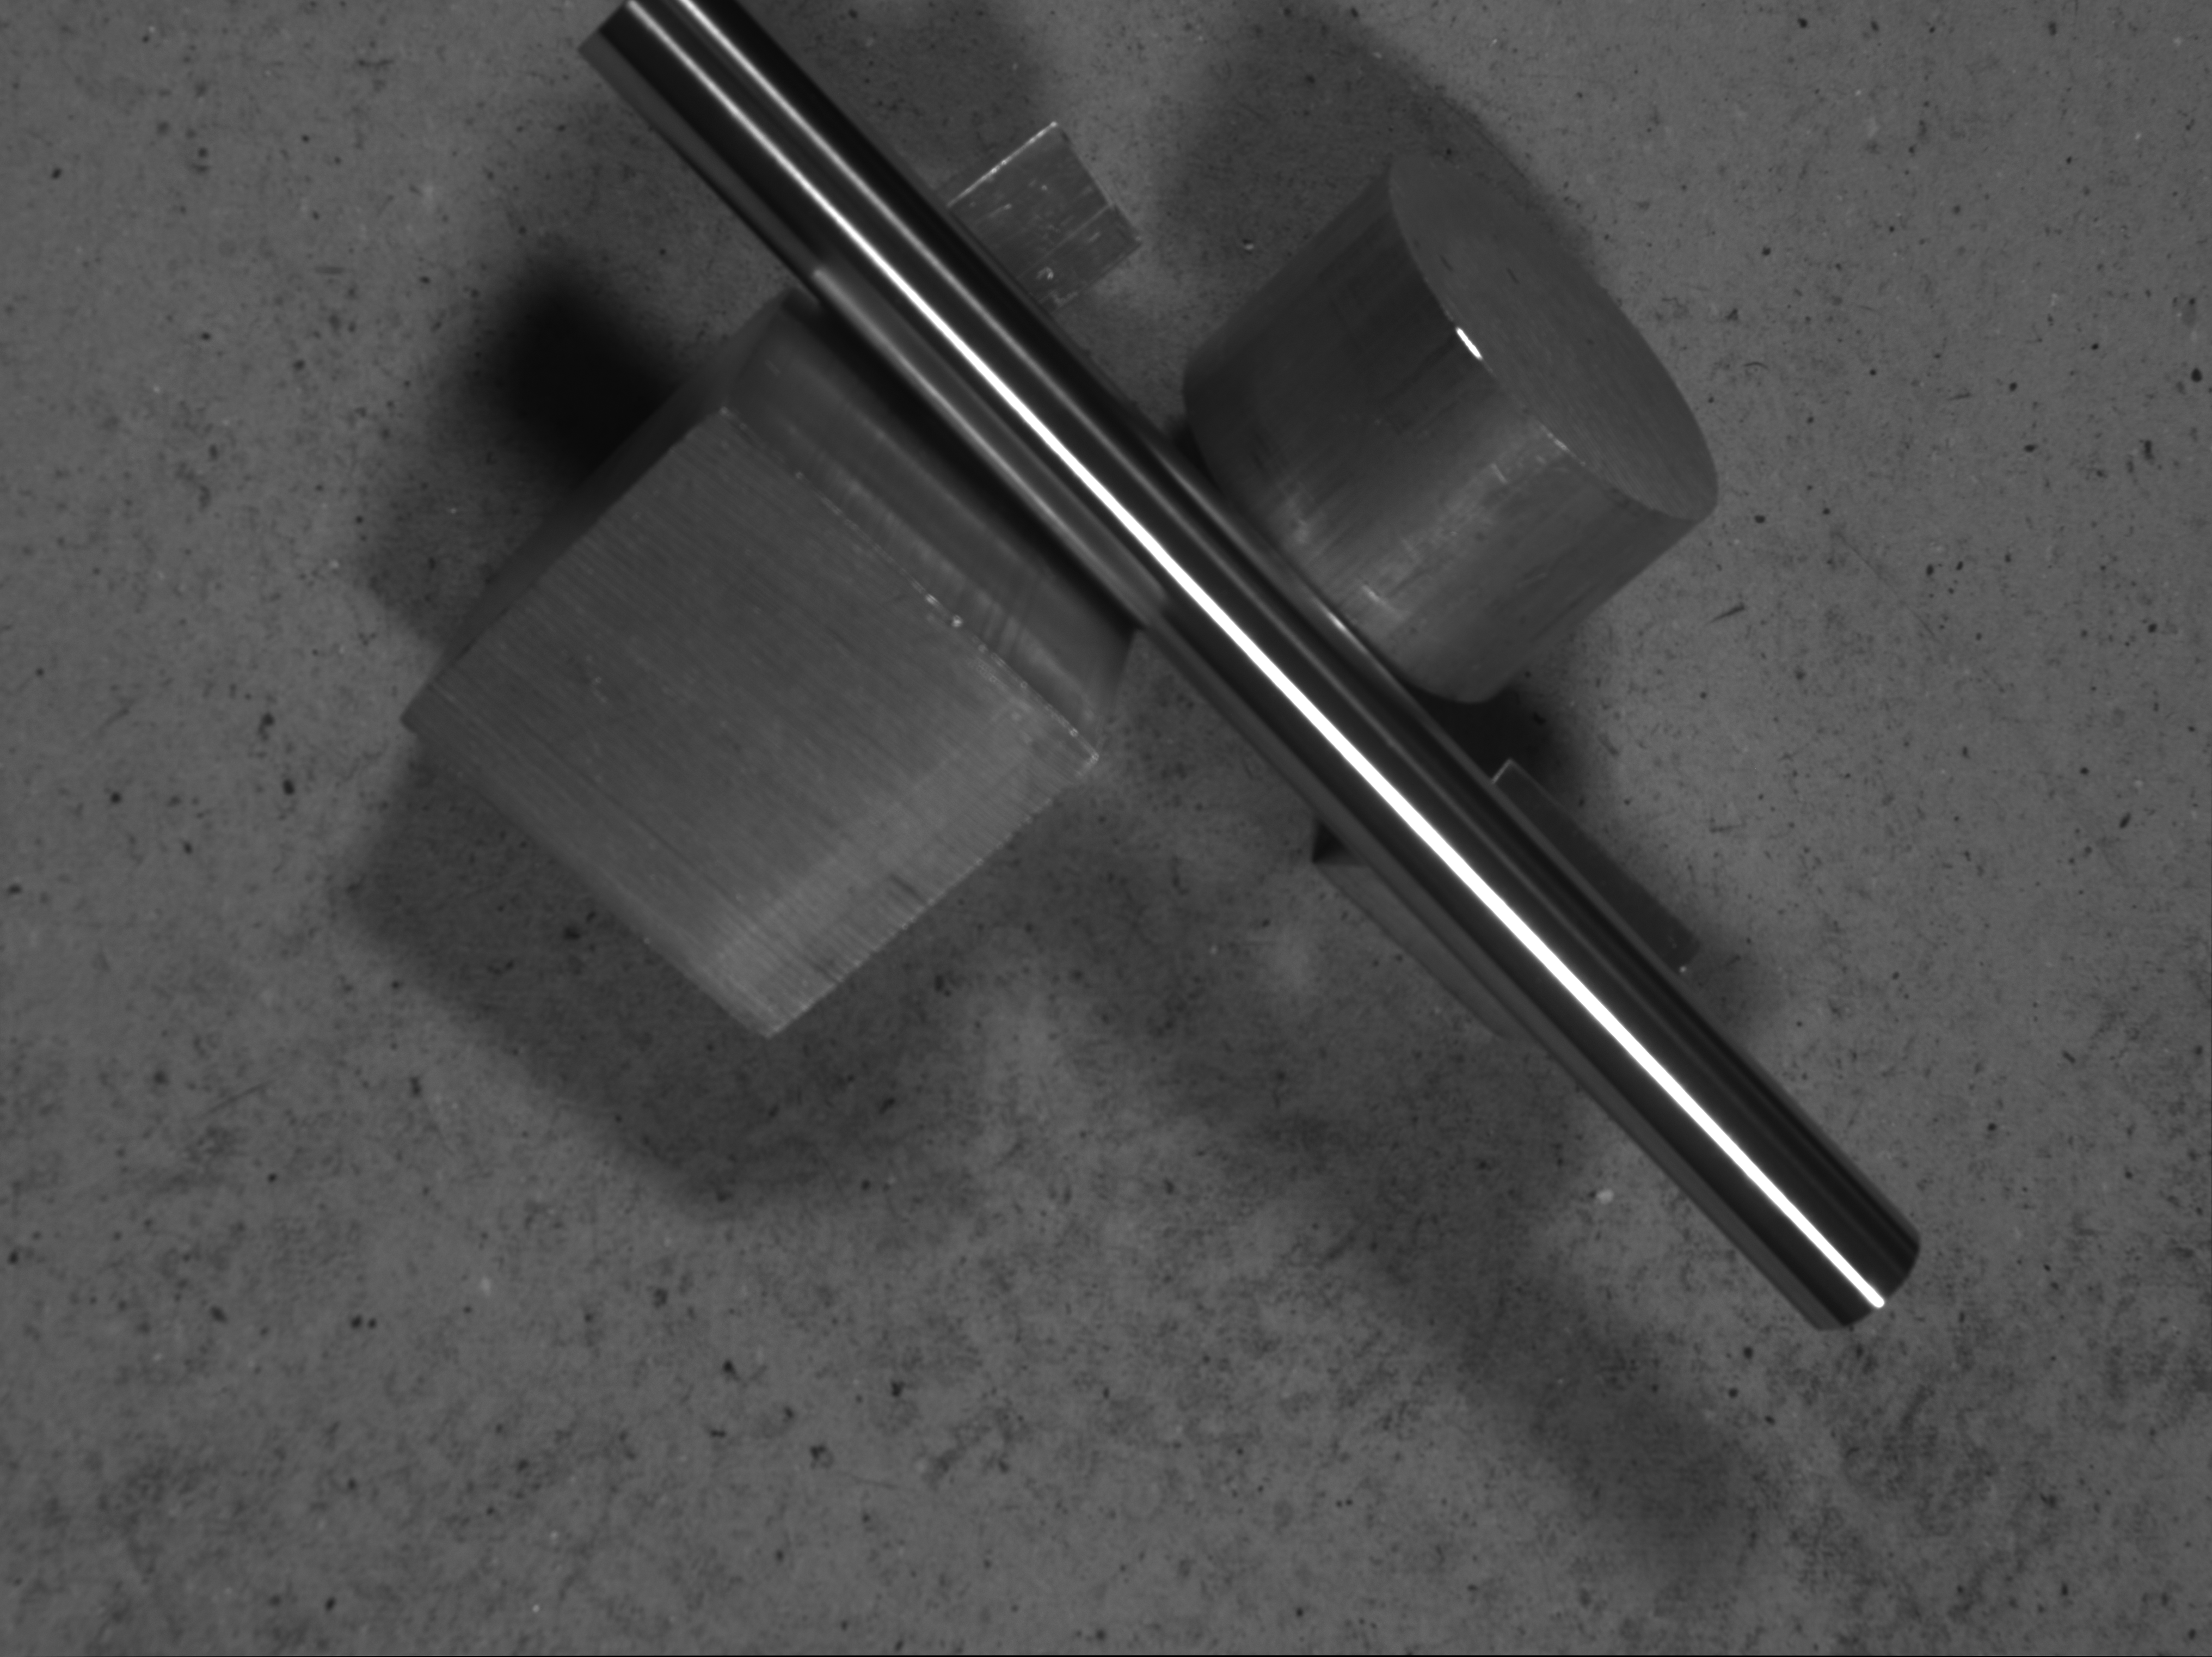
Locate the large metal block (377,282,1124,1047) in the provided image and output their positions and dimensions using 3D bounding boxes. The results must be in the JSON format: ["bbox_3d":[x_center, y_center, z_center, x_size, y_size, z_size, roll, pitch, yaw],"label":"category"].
[{"bbox_3d":[-0.055,-0.026,0.591,0.080,0.050,0.080,43,117,-15],"label":"large metal block"}]

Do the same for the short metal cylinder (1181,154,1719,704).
[{"bbox_3d":[0.059,-0.068,0.629,0.080,0.080,0.050,41,119,-15],"label":"short metal cylinder"}]

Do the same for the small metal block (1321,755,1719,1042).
[{"bbox_3d":[0.073,0.013,0.654,0.050,0.050,0.025,43,77,-15],"label":"small metal block"}]

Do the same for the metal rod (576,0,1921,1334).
[{"bbox_3d":[0.030,-0.025,0.601,0.300,0.025,0.025,45,76,-14],"label":"metal rod"}]

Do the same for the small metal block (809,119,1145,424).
[{"bbox_3d":[-0.028,-0.091,0.621,0.050,0.050,0.025,-40,103,-15],"label":"small metal block"}]
